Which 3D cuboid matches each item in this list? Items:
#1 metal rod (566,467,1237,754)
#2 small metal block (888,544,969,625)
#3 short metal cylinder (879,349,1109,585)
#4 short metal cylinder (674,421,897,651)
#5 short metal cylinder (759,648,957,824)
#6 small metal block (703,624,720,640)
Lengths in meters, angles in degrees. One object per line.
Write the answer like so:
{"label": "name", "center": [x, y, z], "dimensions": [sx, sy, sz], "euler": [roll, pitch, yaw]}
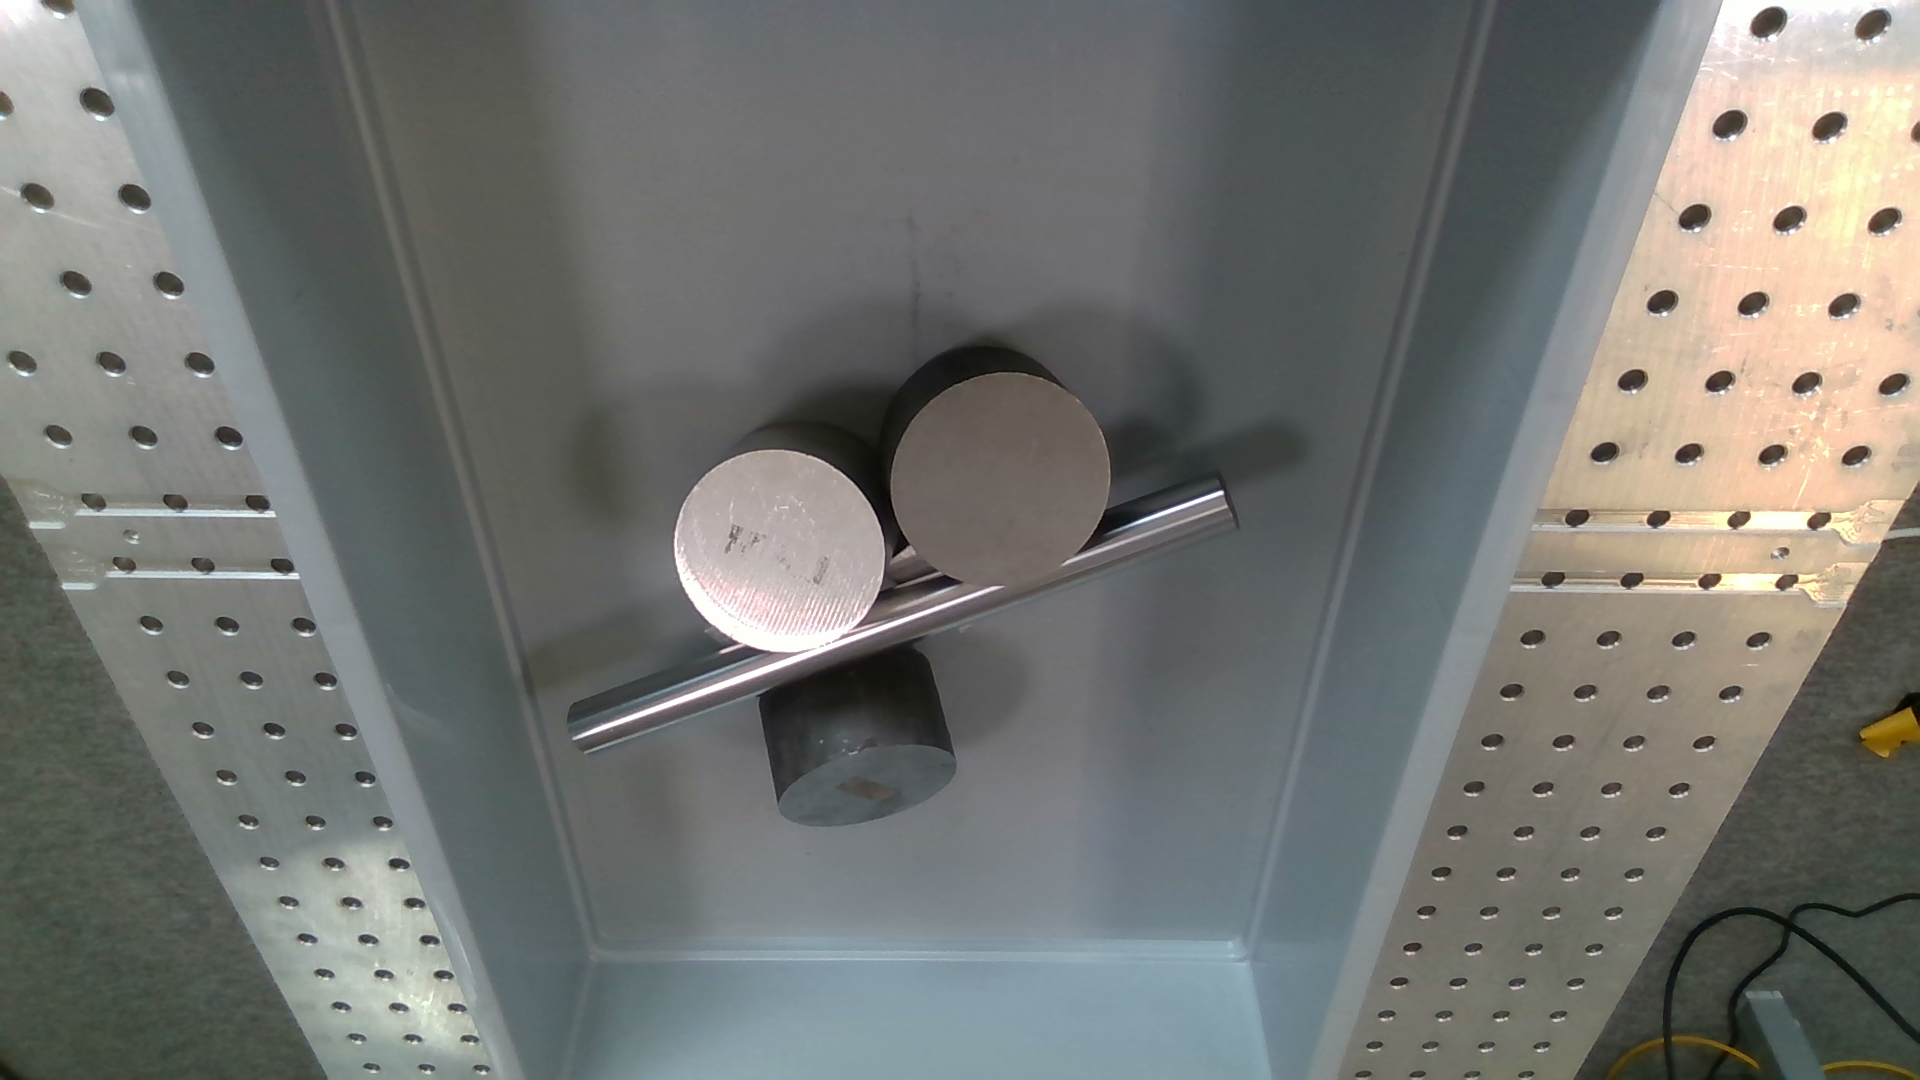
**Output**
{"label": "metal rod", "center": [-0.032, 0.033, 0.573], "dimensions": [0.300, 0.025, 0.025], "euler": [-20, 127, 16]}
{"label": "small metal block", "center": [0.001, 0.004, 0.582], "dimensions": [0.050, 0.025, 0.050], "euler": [-36, 122, 26]}
{"label": "short metal cylinder", "center": [0.011, -0.029, 0.519], "dimensions": [0.080, 0.050, 0.080], "euler": [-3, 109, -8]}
{"label": "short metal cylinder", "center": [-0.067, -0.003, 0.542], "dimensions": [0.080, 0.050, 0.080], "euler": [1, 107, 4]}
{"label": "short metal cylinder", "center": [-0.046, 0.088, 0.619], "dimensions": [0.080, 0.050, 0.080], "euler": [-13, 149, -8]}
{"label": "small metal block", "center": [-0.076, 0.033, 0.606], "dimensions": [0.050, 0.025, 0.050], "euler": [-33, 123, 25]}
